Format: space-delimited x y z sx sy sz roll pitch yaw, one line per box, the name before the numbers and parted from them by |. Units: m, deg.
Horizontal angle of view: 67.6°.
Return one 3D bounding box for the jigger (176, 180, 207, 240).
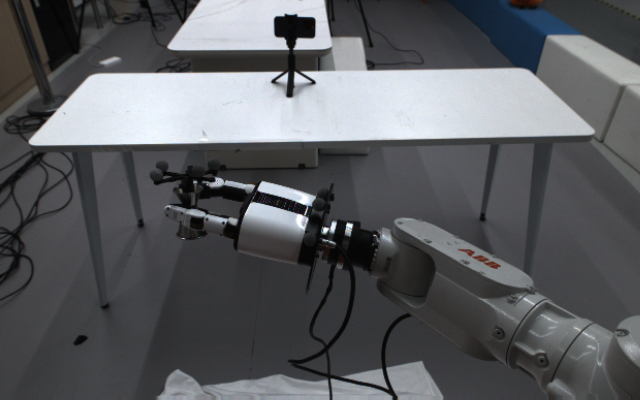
jigger | -0.180 0.016 0.672 0.043 0.071 0.043 0 22 0
